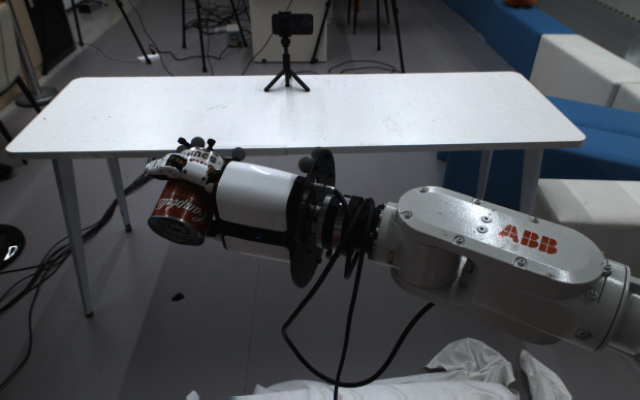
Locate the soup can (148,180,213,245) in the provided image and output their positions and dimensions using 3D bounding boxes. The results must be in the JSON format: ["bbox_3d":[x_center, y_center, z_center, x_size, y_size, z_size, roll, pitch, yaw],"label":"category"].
[{"bbox_3d":[-0.153,-0.004,0.579,0.067,0.067,0.101,9,58,10],"label":"soup can"}]
